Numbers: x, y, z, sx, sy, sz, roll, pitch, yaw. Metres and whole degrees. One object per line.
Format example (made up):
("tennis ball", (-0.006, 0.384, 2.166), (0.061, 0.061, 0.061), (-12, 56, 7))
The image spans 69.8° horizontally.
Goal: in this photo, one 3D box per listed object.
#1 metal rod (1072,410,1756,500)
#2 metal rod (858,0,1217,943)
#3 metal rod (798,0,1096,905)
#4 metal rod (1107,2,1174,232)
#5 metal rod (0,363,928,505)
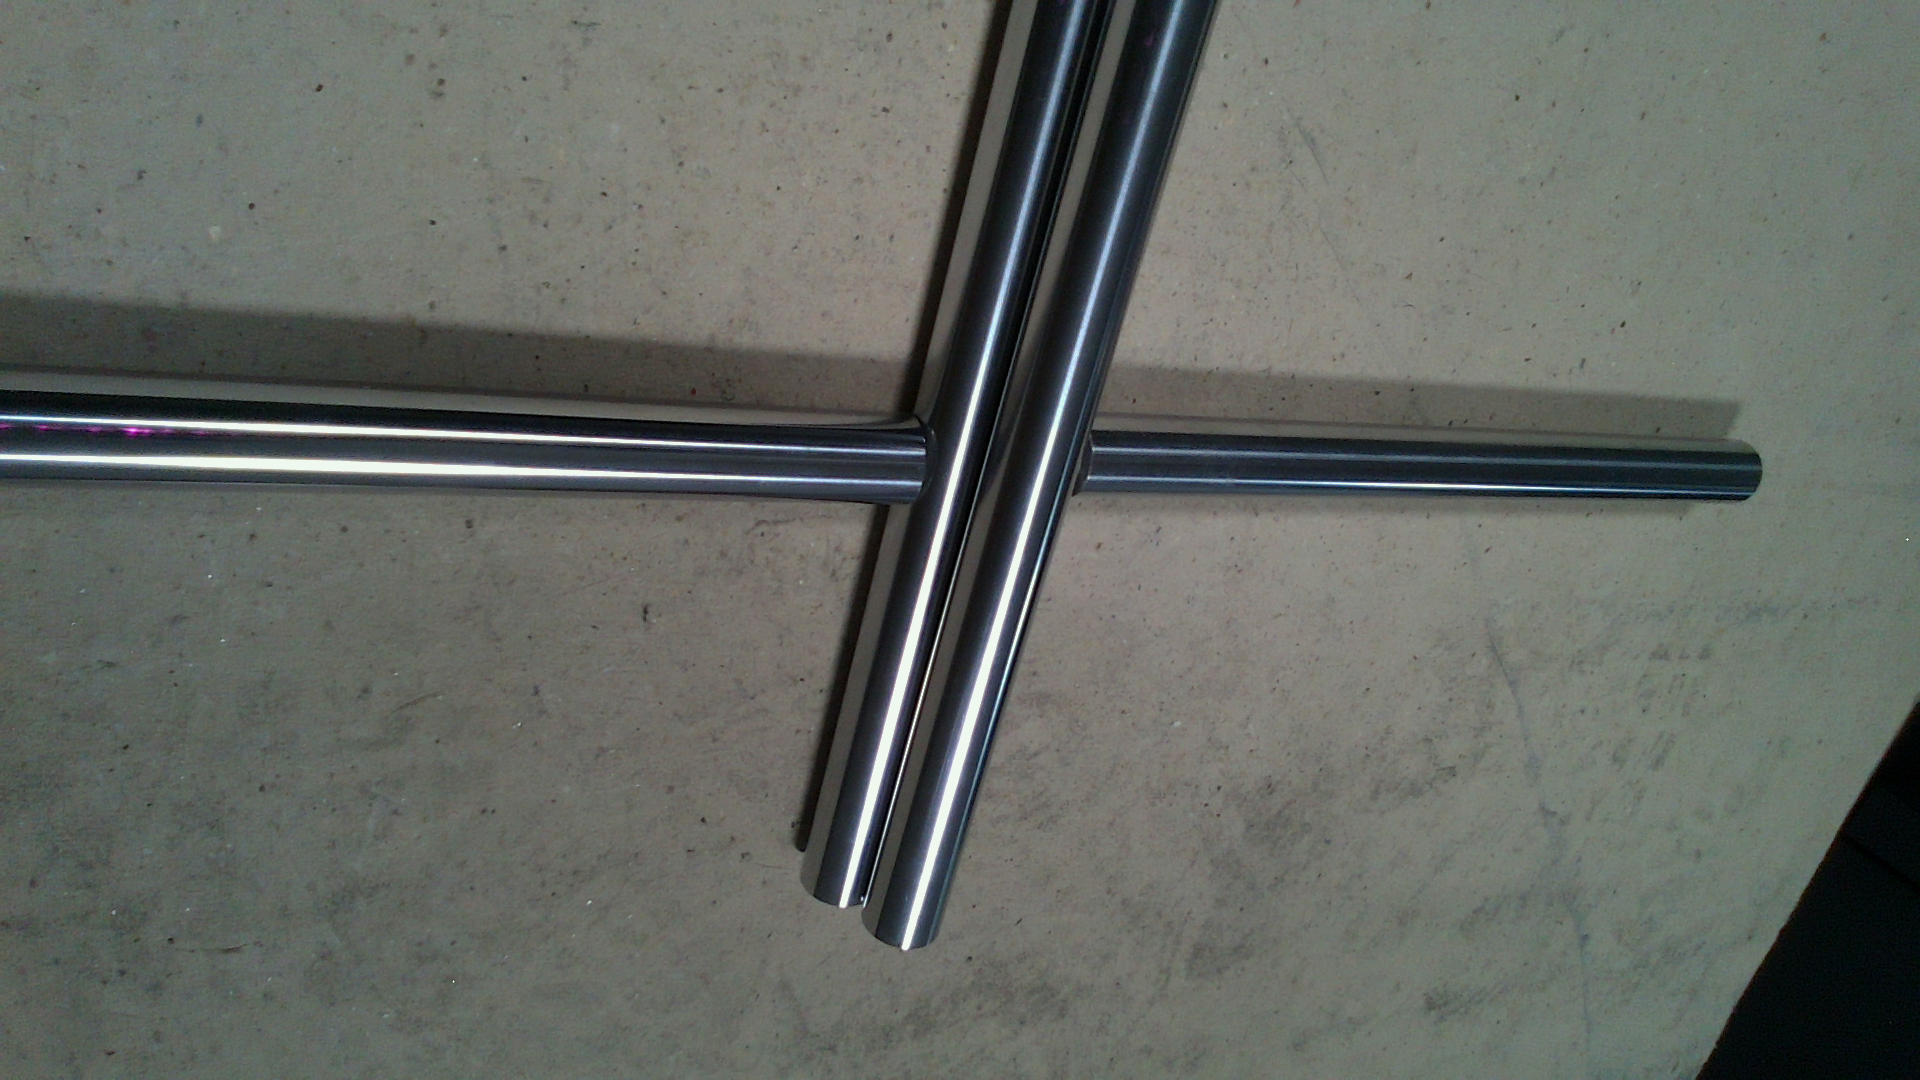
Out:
("metal rod", (0.163, -0.026, 0.461), (0.301, 0.025, 0.025), (-1, 119, -28))
("metal rod", (0.016, -0.017, 0.362), (0.025, 0.025, 0.300), (1, 118, -29))
("metal rod", (-0.003, -0.025, 0.373), (0.025, 0.025, 0.300), (1, 118, -29))
("metal rod", (0.018, -0.020, 0.388), (0.025, 0.025, 0.300), (1, 118, -29))
("metal rod", (-0.147, -0.022, 0.296), (0.301, 0.025, 0.025), (0, 118, -29))
